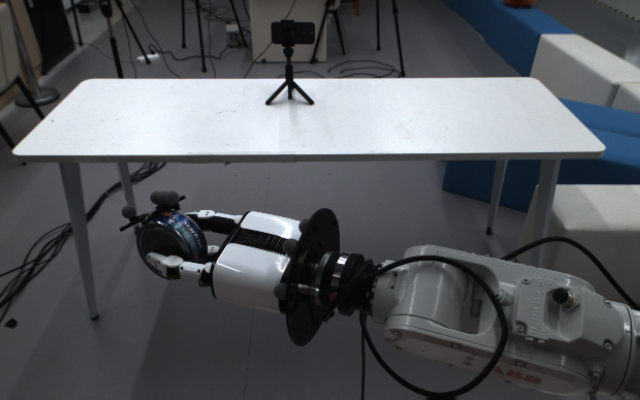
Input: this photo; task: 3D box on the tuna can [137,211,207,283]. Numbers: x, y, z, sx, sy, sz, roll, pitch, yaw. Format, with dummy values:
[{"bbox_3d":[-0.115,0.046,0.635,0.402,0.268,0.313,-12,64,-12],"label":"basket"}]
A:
[{"bbox_3d":[-0.184,0.064,0.611,0.085,0.085,0.034,14,31,17],"label":"tuna can"}]
